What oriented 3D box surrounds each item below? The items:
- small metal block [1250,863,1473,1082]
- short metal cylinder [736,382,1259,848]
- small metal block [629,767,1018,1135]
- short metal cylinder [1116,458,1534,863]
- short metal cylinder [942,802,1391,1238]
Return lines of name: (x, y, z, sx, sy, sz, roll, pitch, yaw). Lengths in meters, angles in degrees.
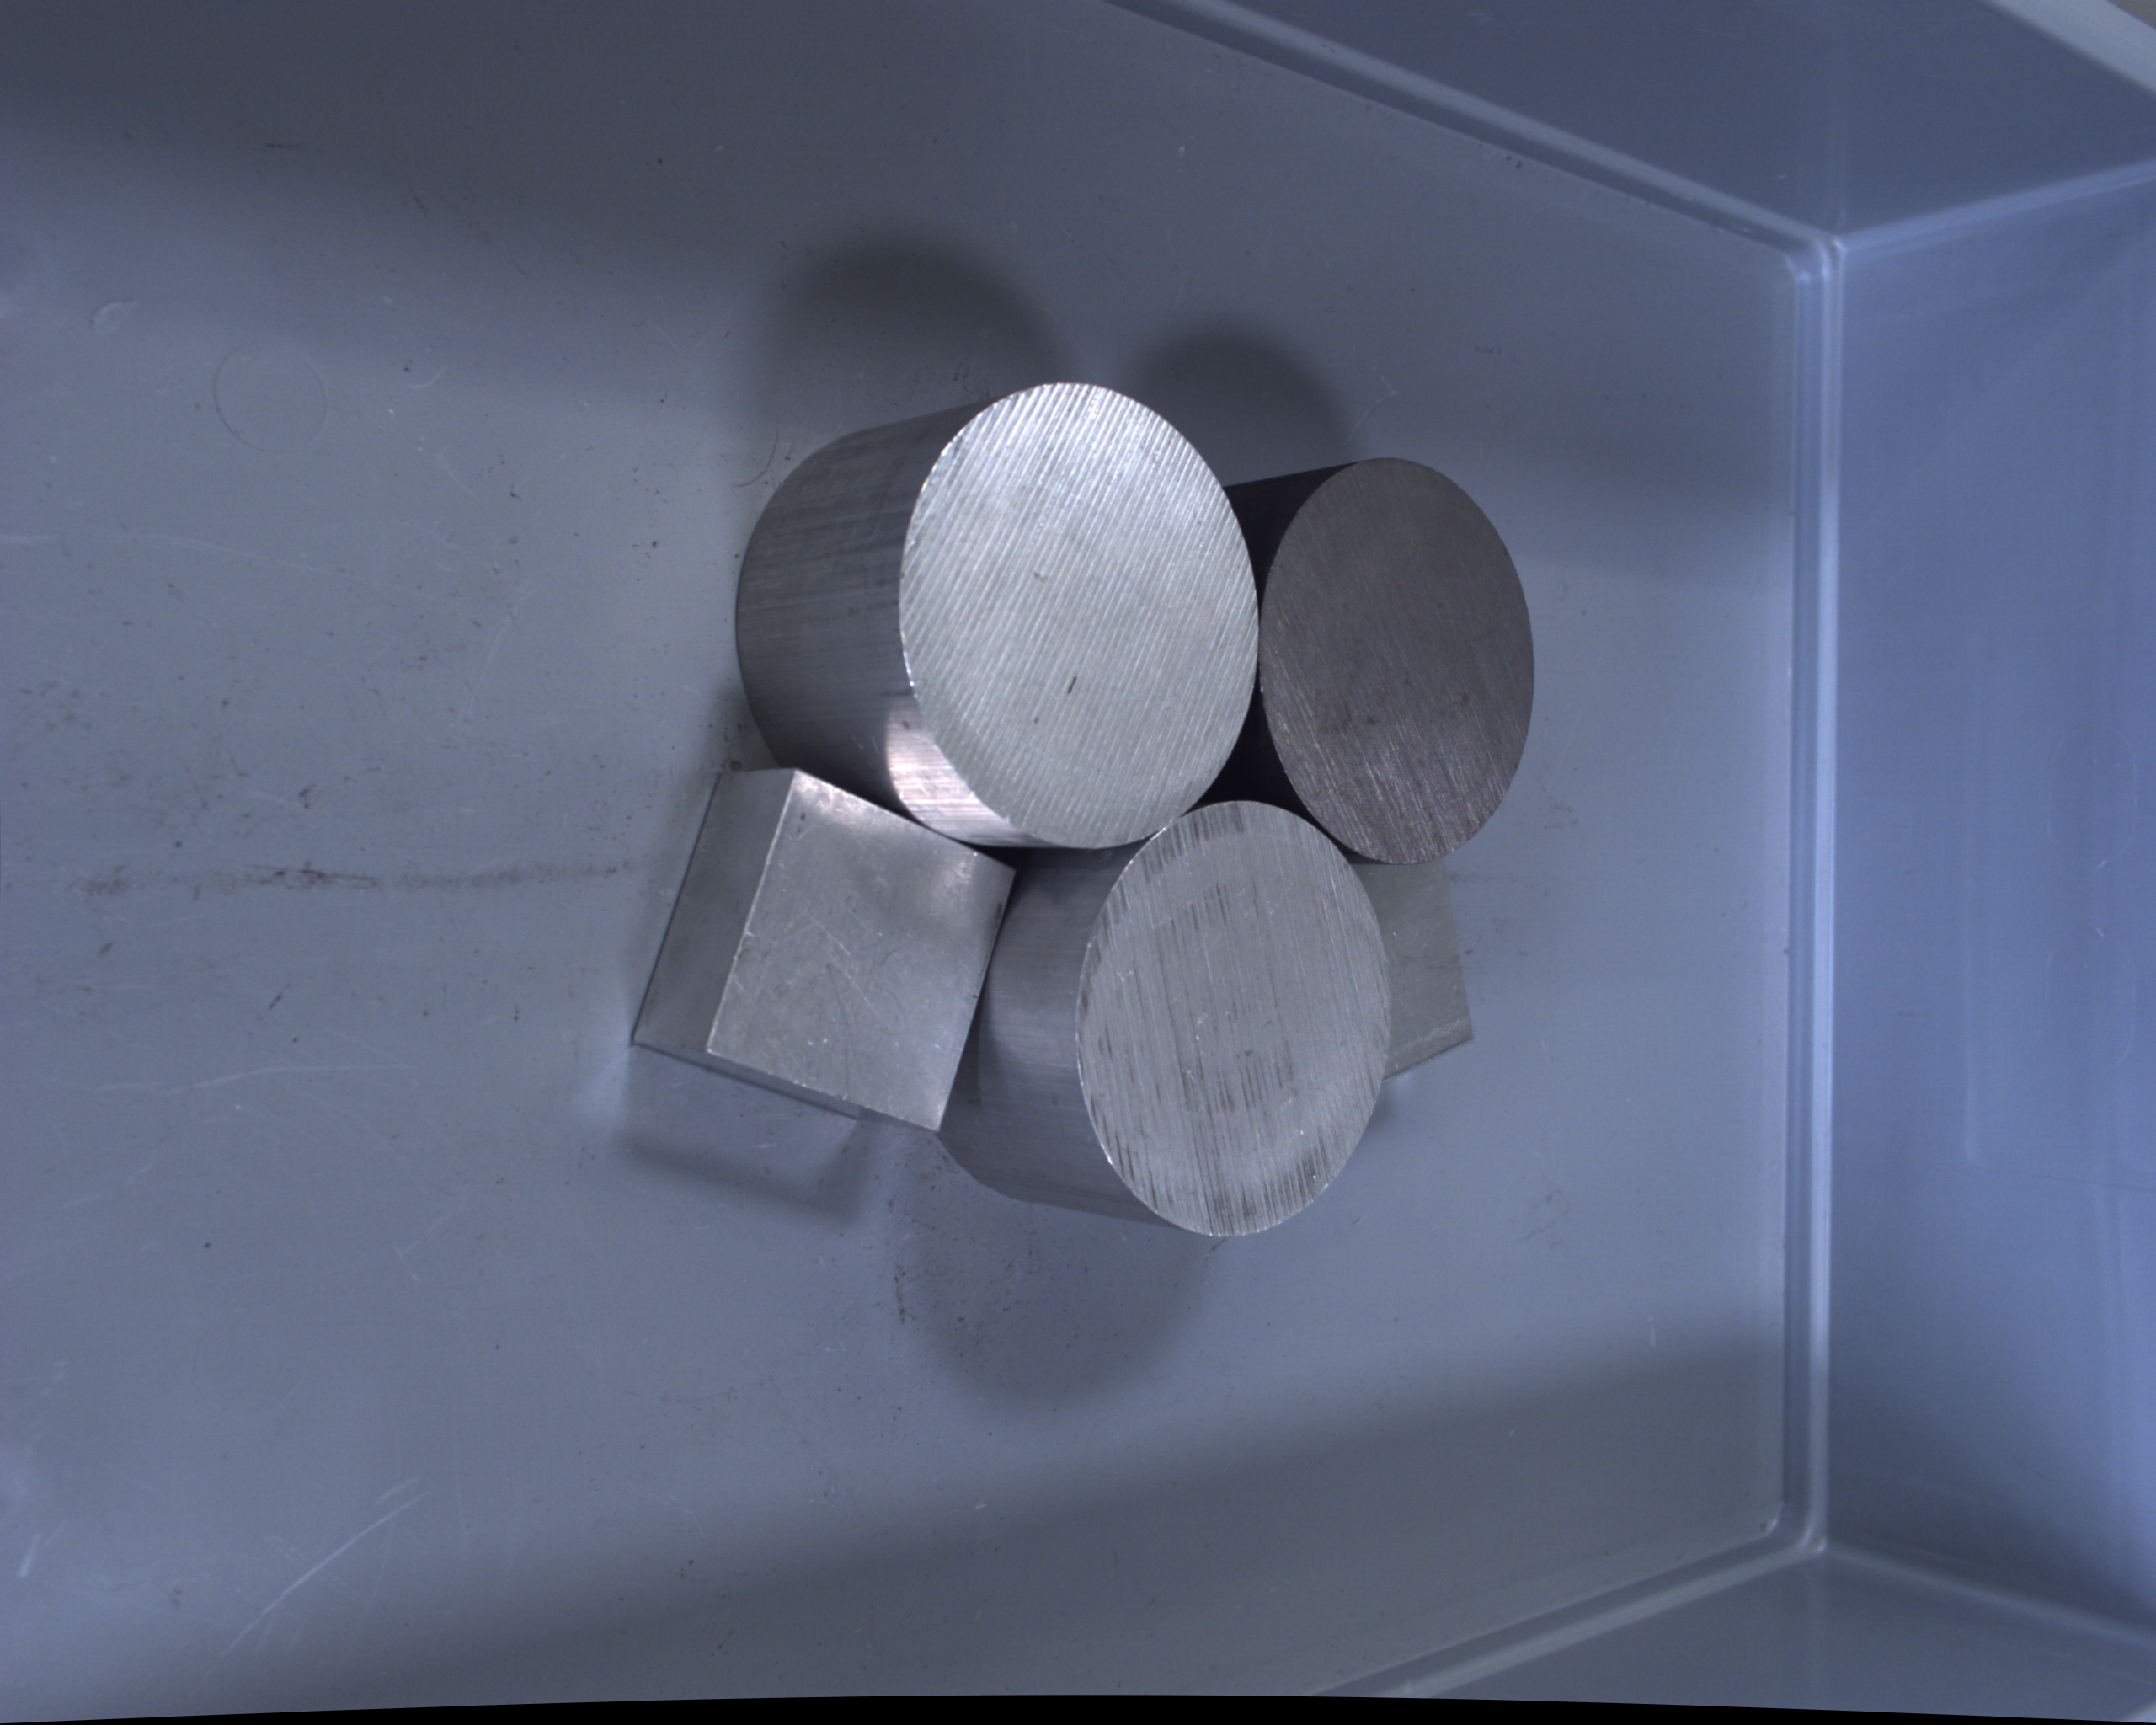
small metal block: (0.056, 0.022, 0.453, 0.050, 0.025, 0.050, -18, 102, -39)
short metal cylinder: (-0.014, -0.042, 0.377, 0.081, 0.050, 0.079, 0, 90, -40)
small metal block: (-0.044, 0.016, 0.368, 0.050, 0.025, 0.050, 26, 74, -37)
short metal cylinder: (0.048, -0.040, 0.429, 0.081, 0.050, 0.079, 0, 90, -40)
short metal cylinder: (0.014, 0.028, 0.400, 0.081, 0.050, 0.079, 0, 90, -40)
